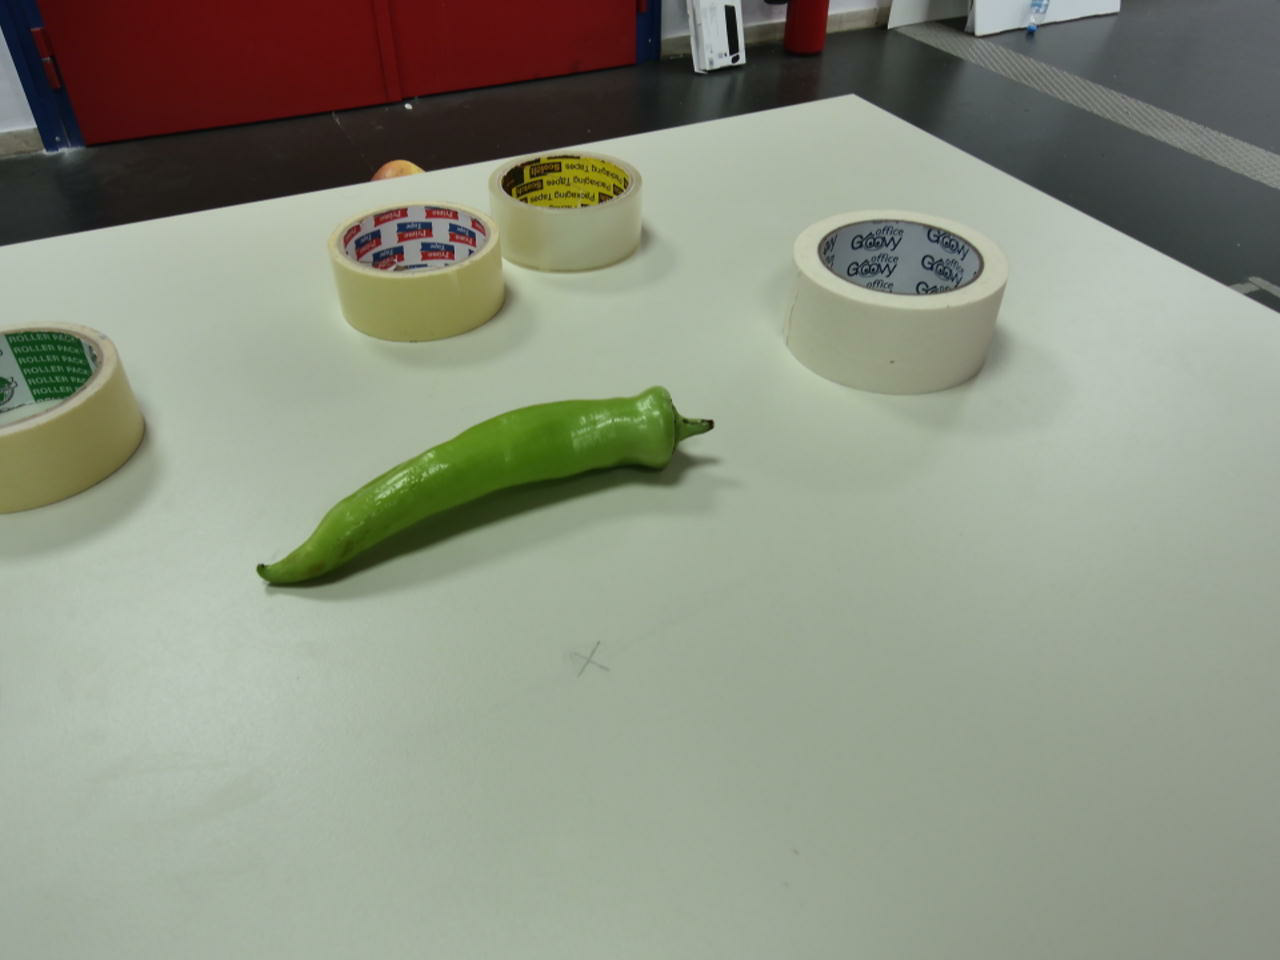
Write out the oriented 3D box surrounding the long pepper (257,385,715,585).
[{"bbox_3d":[-0.063,-0.006,0.418,0.197,0.038,0.047,-16,41,-20],"label":"long pepper"}]
